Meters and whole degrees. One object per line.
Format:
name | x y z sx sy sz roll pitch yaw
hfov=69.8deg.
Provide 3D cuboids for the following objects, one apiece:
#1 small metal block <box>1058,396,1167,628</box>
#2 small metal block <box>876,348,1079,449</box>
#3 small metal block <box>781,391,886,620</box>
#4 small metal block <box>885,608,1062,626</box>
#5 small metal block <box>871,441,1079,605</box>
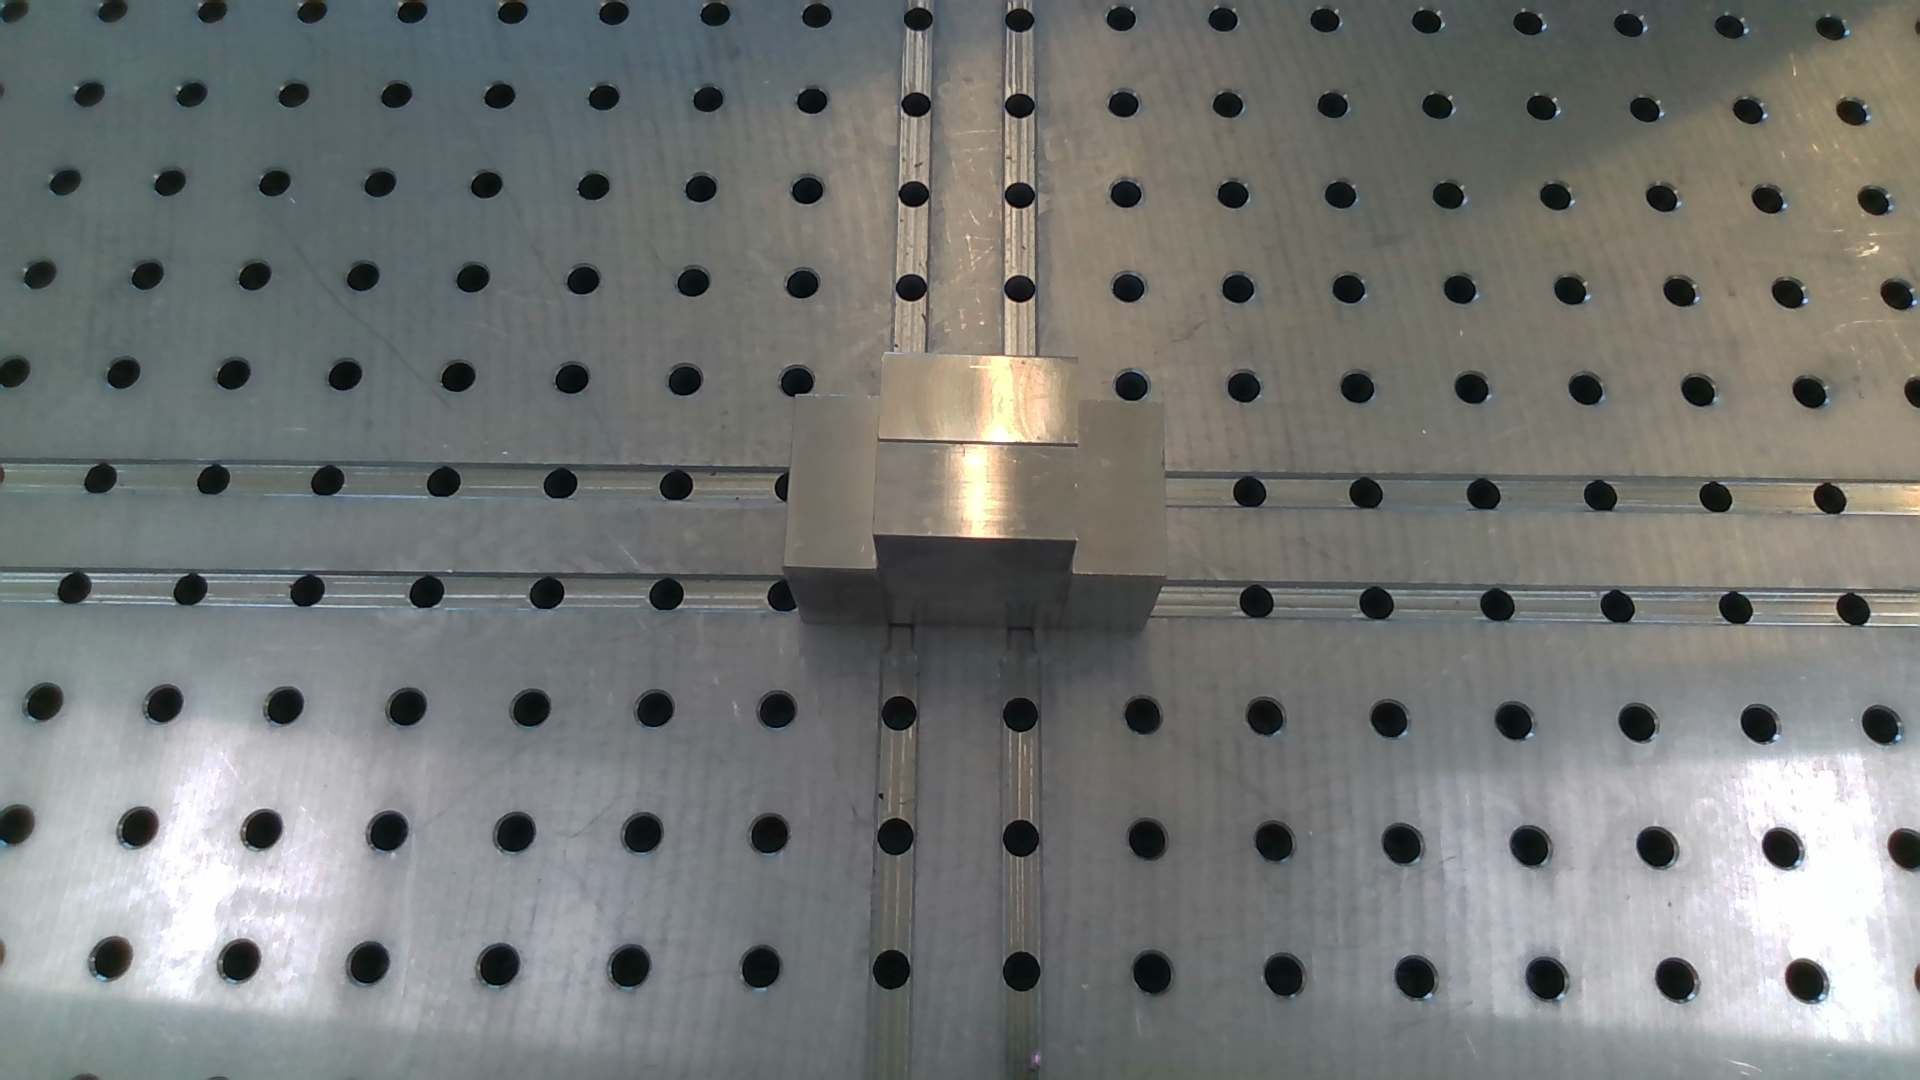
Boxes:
small metal block | 0.042 -0.006 0.386 0.025 0.050 0.050 2 70 1
small metal block | 0.005 -0.028 0.368 0.050 0.050 0.025 1 70 1
small metal block | -0.033 -0.008 0.387 0.025 0.050 0.050 1 70 0
small metal block | 0.004 -0.003 0.399 0.050 0.025 0.050 1 69 1
small metal block | 0.004 -0.003 0.359 0.050 0.050 0.025 2 69 1
